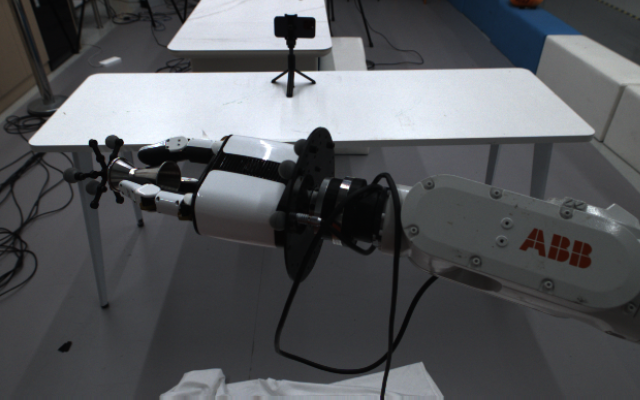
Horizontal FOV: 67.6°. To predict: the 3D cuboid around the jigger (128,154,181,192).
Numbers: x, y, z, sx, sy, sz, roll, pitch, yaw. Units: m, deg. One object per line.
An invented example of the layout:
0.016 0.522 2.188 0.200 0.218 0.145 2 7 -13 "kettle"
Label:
-0.192 -0.032 0.547 0.071 0.043 0.043 5 34 18 "jigger"
